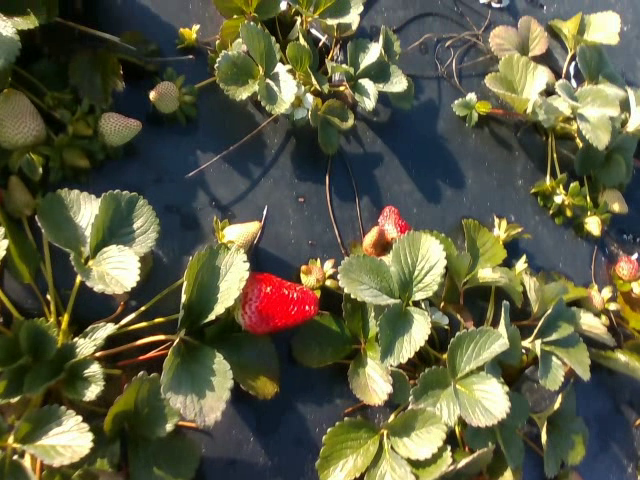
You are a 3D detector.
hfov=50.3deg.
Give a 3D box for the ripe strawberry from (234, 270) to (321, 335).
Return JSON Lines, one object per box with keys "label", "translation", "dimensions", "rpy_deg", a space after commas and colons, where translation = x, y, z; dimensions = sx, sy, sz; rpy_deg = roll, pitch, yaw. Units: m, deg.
{"label": "ripe strawberry", "translation": [-0.031, 0.049, 0.501], "dimensions": [0.072, 0.057, 0.055], "rpy_deg": [-5, 34, -7]}
